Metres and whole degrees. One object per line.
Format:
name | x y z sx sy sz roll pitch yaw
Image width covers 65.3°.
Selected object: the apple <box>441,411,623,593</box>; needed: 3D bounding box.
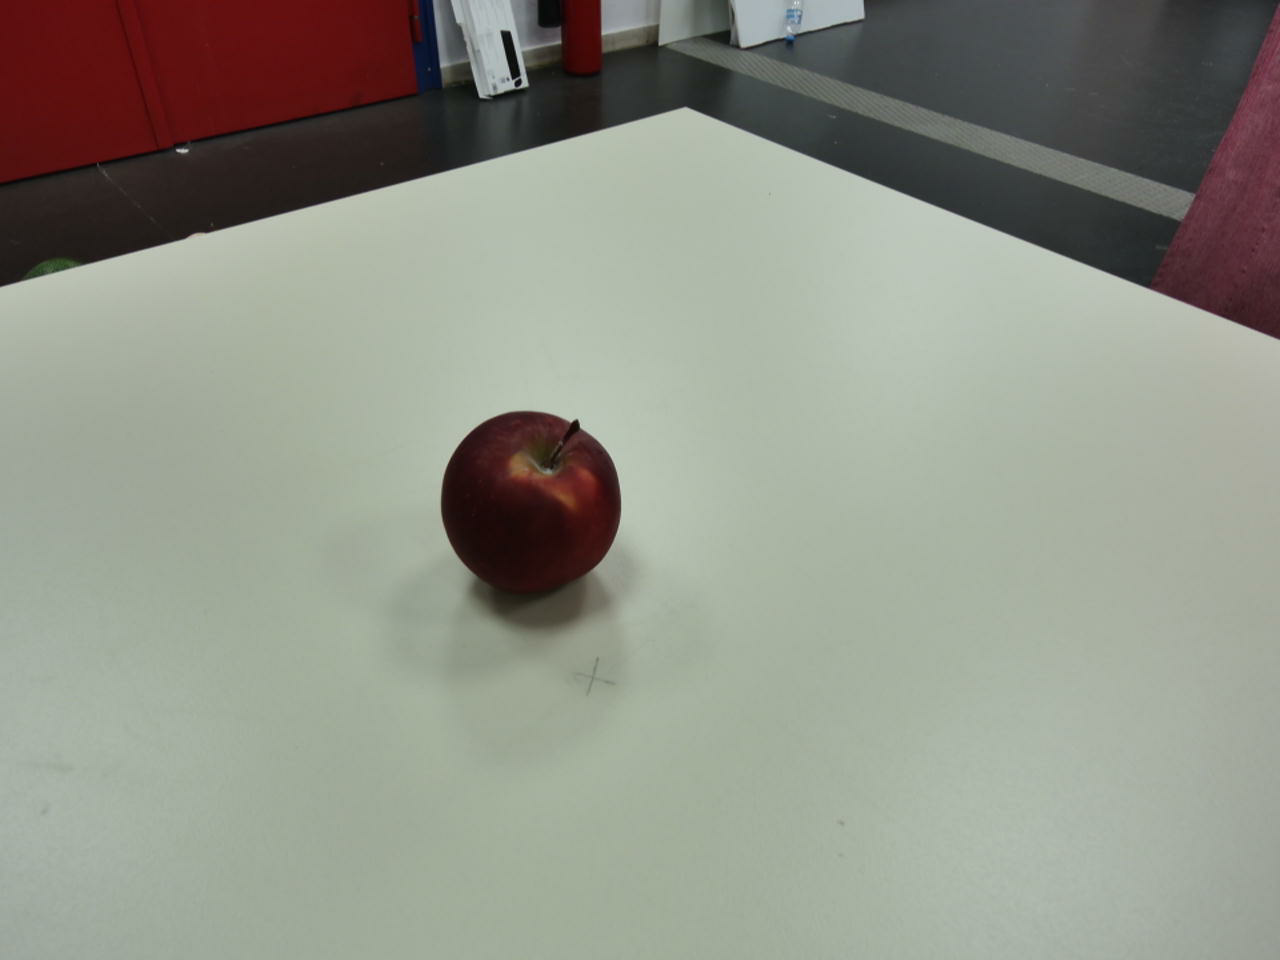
apple | -0.042 0.009 0.386 0.070 0.072 0.070 0 37 0
